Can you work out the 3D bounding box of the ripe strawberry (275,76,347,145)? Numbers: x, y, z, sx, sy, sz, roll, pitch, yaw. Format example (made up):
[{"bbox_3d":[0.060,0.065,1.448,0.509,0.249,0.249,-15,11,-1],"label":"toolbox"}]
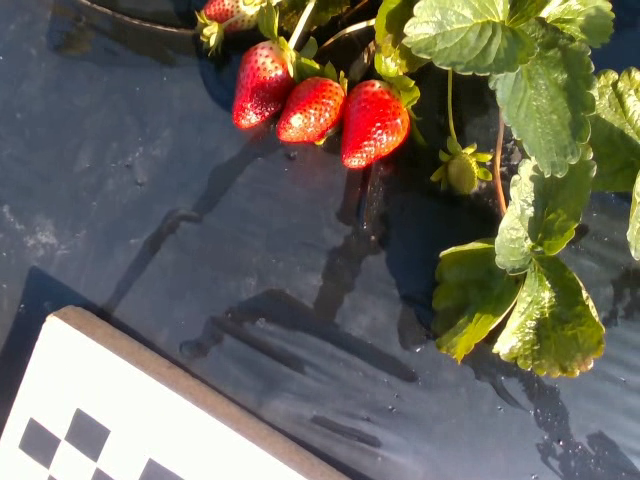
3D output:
[{"bbox_3d":[-0.006,-0.058,0.275,0.039,0.030,0.037,-43,-11,-44],"label":"ripe strawberry"}]

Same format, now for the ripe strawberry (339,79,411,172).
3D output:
[{"bbox_3d":[0.019,-0.045,0.273,0.035,0.041,0.034,25,-34,13],"label":"ripe strawberry"}]

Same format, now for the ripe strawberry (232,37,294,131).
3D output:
[{"bbox_3d":[-0.029,-0.072,0.287,0.031,0.046,0.023,29,3,11],"label":"ripe strawberry"}]
